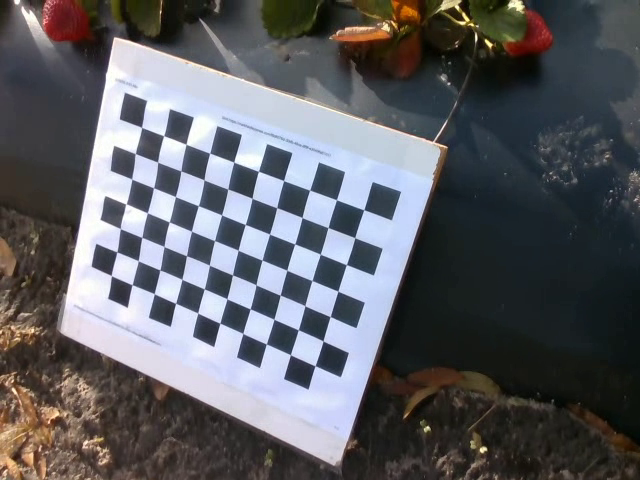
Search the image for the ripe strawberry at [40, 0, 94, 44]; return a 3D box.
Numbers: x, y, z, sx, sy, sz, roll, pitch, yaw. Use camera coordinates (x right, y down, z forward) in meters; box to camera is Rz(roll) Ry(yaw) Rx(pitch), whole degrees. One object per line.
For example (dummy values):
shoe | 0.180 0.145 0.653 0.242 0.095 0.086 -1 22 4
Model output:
ripe strawberry | -0.188 -0.158 0.605 0.041 0.041 0.047 -10 39 35
